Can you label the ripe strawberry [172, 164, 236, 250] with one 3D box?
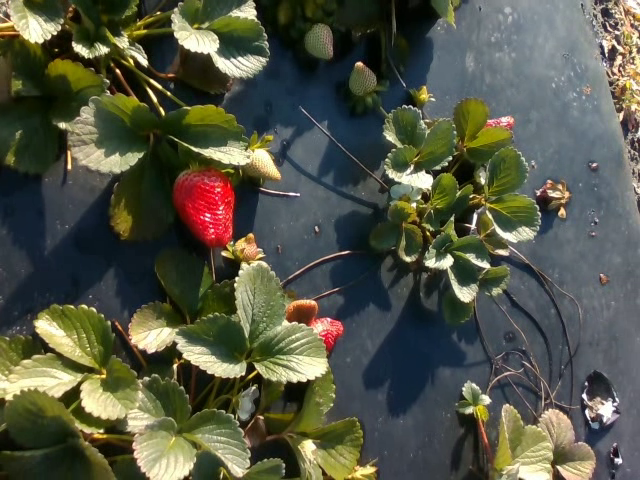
[{"bbox_3d":[-0.084,-0.022,0.472,0.056,0.072,0.055,-31,-17,21],"label":"ripe strawberry"}]
